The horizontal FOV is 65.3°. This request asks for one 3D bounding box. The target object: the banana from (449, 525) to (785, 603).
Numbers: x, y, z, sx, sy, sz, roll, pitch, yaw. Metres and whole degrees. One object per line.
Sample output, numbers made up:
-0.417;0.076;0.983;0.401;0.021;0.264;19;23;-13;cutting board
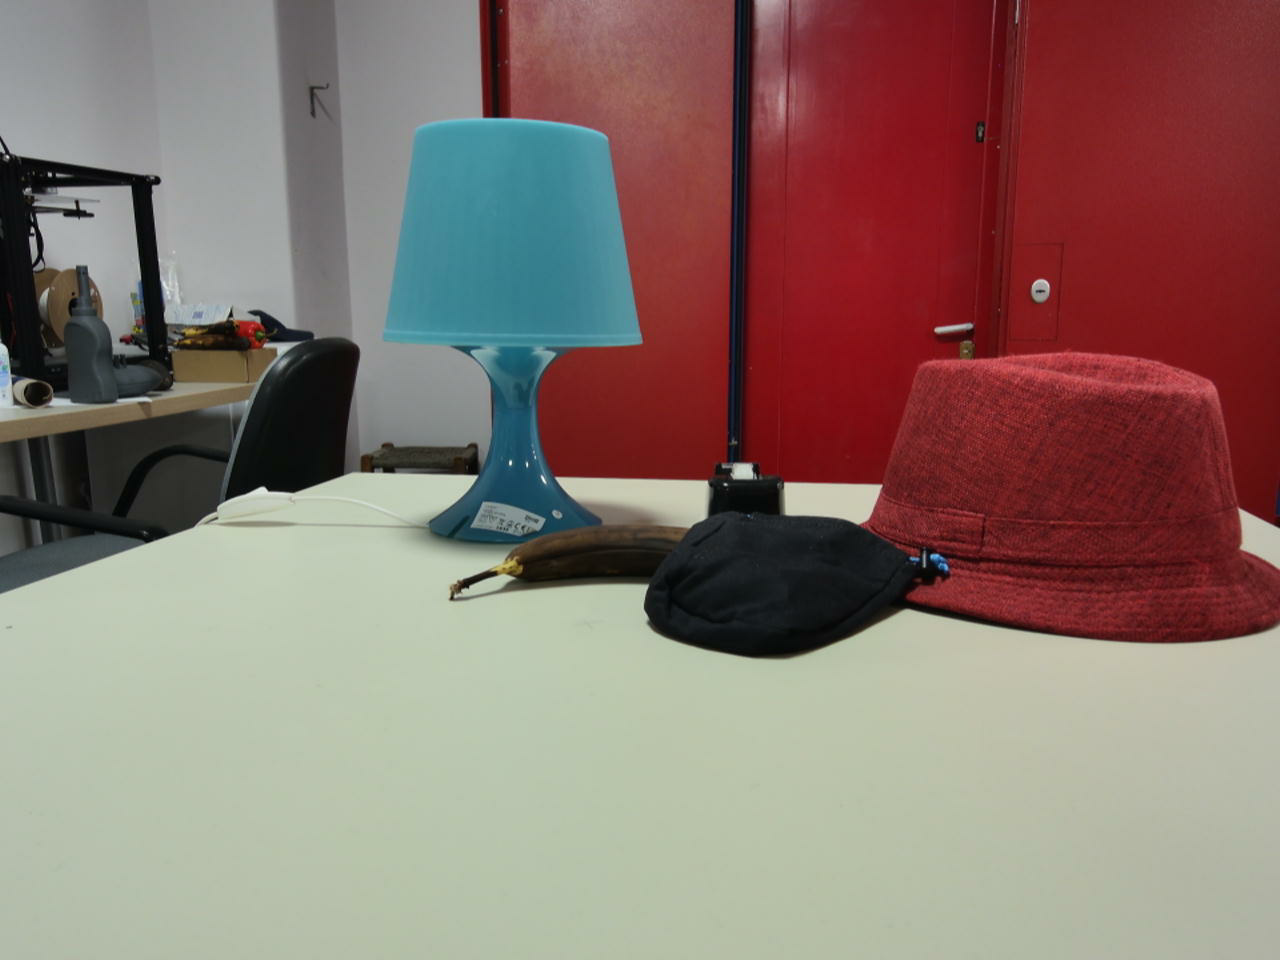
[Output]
-0.008;0.048;0.590;0.188;0.033;0.091;1;8;13;banana
